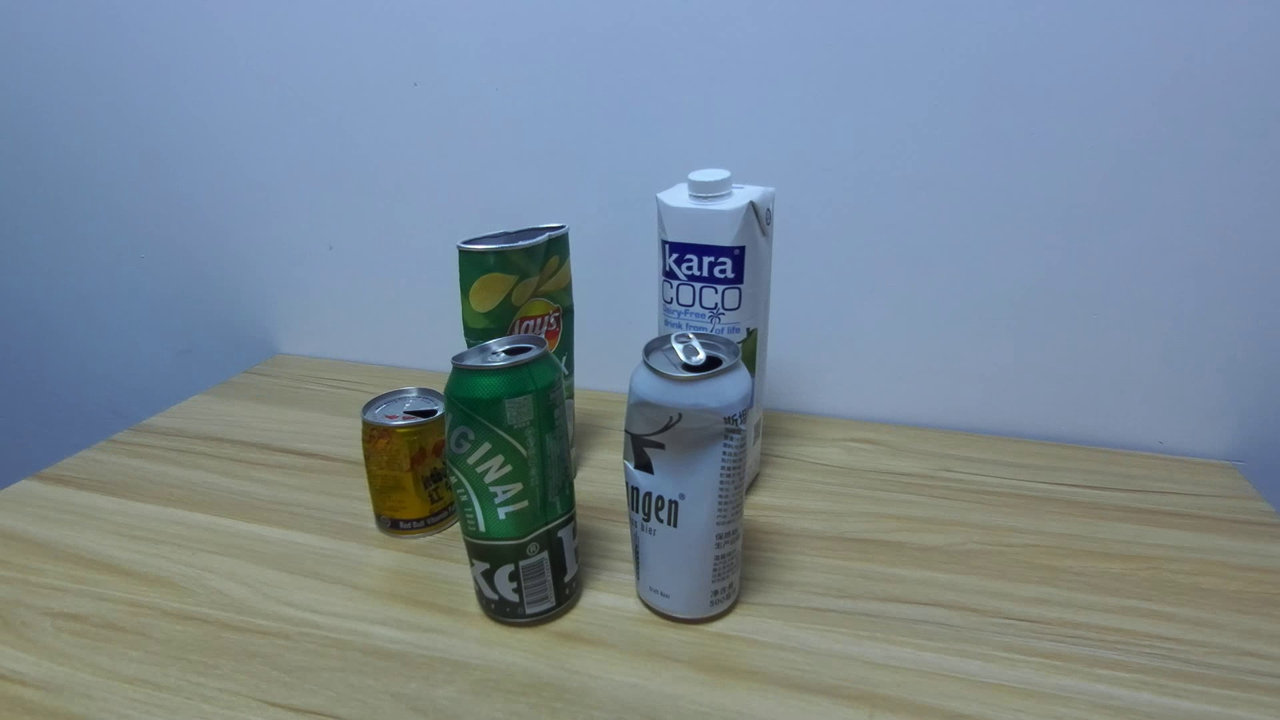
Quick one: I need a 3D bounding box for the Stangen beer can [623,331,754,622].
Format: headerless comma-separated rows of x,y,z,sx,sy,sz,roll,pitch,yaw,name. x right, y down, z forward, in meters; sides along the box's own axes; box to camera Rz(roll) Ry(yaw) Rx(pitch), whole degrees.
0.029,0.070,0.416,0.070,0.173,0.070,-8,25,-15,Stangen beer can

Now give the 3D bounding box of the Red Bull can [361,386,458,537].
-0.164,0.073,0.516,0.072,0.092,0.072,0,23,0,Red Bull can

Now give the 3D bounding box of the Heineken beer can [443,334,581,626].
-0.074,0.073,0.424,0.068,0.168,0.069,-7,19,-8,Heineken beer can

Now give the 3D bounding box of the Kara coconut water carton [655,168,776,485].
0.054,-0.016,0.524,0.077,0.245,0.075,9,24,23,Kara coconut water carton

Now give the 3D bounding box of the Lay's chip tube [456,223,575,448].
-0.088,0.002,0.549,0.069,0.199,0.075,2,22,8,Lay's chip tube
